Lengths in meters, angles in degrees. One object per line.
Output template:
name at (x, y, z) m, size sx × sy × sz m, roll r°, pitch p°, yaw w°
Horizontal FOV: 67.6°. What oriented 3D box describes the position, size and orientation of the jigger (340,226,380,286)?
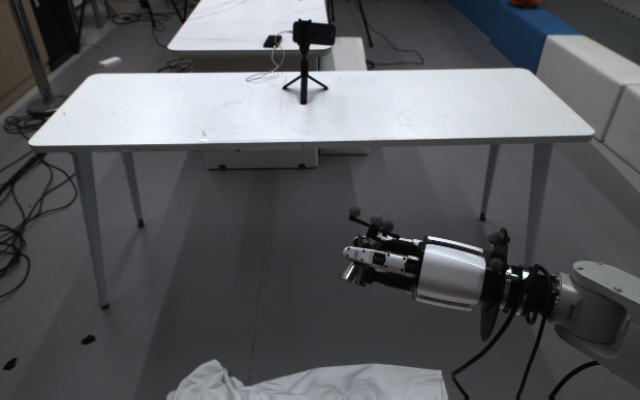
jigger at (0.059, 0.086, 0.708) m, size 0.043 × 0.071 × 0.043 m, roll 24°, pitch -3°, yaw 1°
